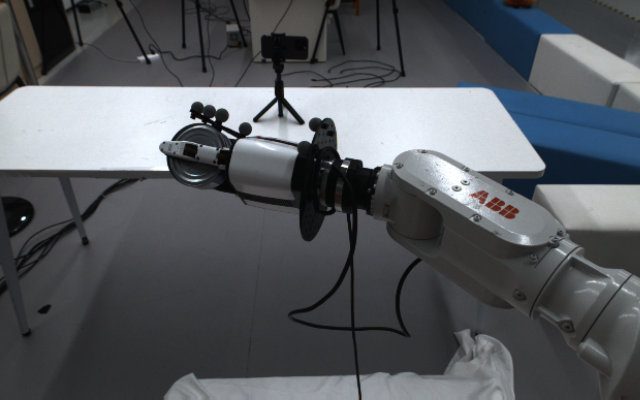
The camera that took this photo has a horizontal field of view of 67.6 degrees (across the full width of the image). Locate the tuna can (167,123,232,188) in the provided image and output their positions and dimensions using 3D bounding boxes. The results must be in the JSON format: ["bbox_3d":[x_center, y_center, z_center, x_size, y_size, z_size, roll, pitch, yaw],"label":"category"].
[{"bbox_3d":[-0.158,-0.057,0.650,0.085,0.085,0.034,14,-6,16],"label":"tuna can"}]
